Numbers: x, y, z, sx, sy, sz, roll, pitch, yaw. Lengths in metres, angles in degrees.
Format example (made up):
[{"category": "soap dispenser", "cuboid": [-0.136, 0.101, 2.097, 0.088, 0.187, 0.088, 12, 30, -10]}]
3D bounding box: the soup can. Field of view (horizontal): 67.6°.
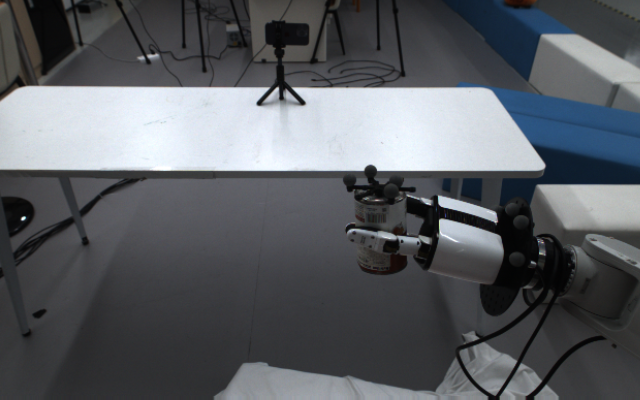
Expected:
[{"category": "soup can", "cuboid": [0.082, 0.037, 0.633, 0.067, 0.101, 0.067, -4, 21, 2]}]
